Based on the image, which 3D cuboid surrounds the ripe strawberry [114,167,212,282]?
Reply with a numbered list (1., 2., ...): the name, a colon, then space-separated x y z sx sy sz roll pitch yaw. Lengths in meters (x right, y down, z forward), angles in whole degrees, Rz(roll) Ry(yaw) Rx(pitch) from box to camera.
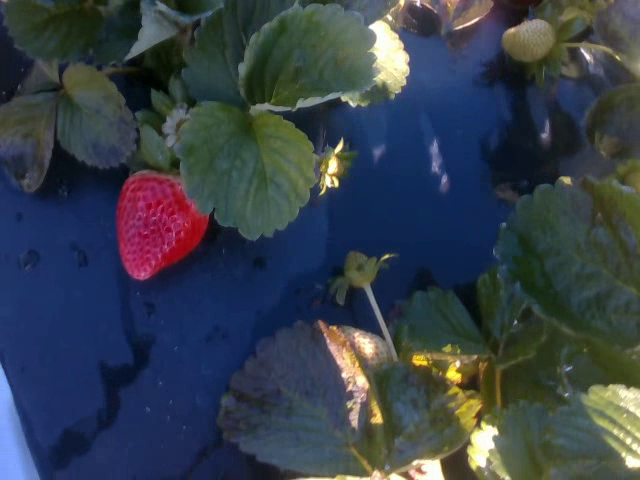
1. ripe strawberry: -0.073 -0.006 0.276 0.045 0.059 0.042 8 -17 30
